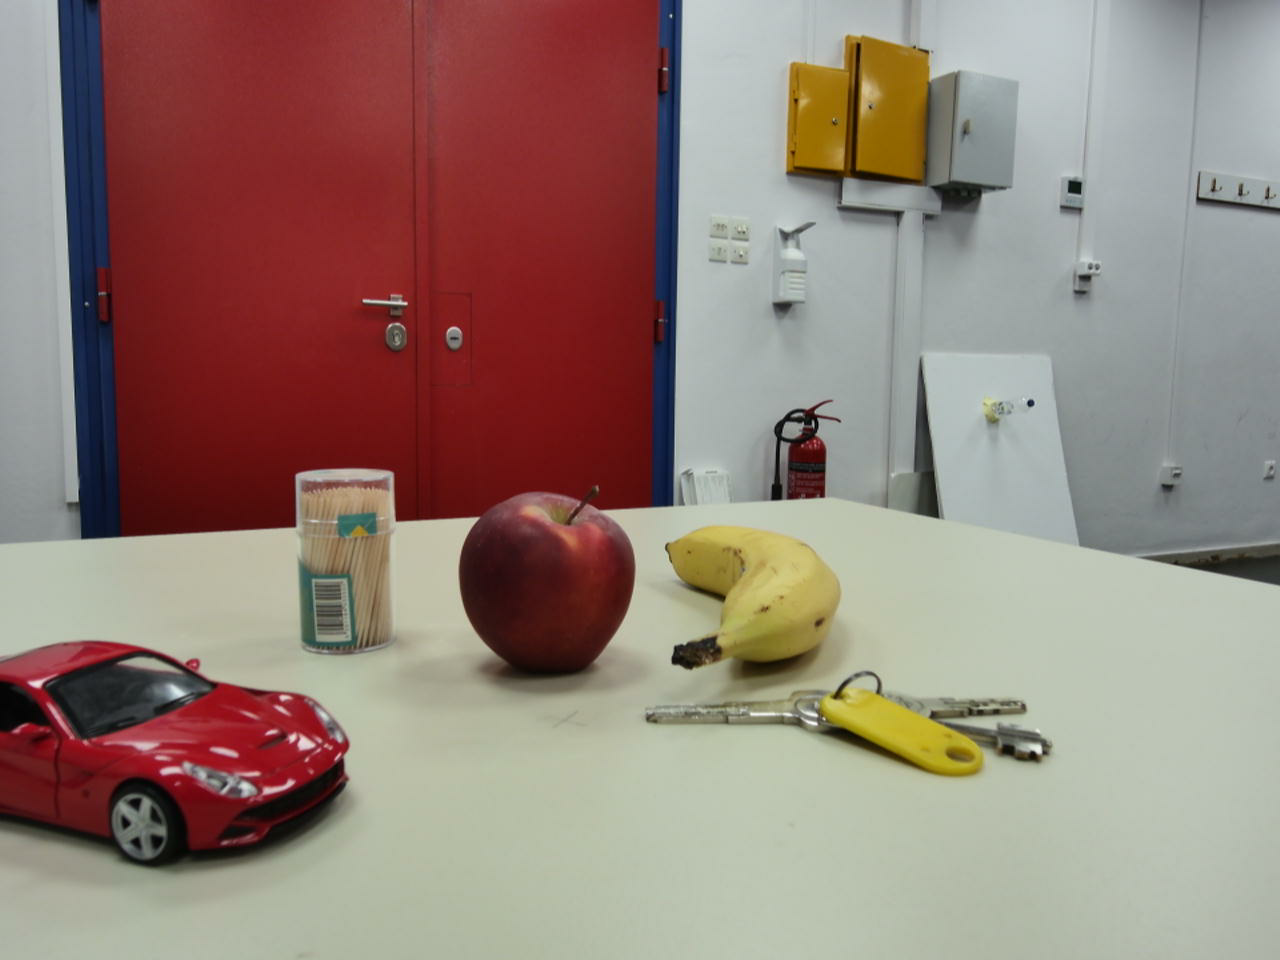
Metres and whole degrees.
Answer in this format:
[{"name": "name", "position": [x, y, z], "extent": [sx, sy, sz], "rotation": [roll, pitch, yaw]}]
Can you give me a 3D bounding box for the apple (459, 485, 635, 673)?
[{"name": "apple", "position": [-0.037, 0.039, 0.402], "extent": [0.070, 0.072, 0.070], "rotation": [0, 4, 0]}]
